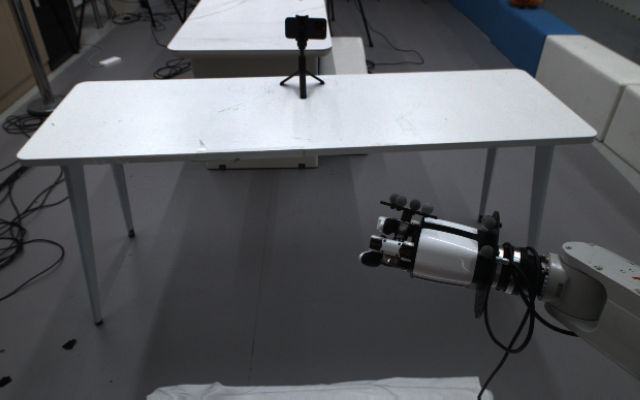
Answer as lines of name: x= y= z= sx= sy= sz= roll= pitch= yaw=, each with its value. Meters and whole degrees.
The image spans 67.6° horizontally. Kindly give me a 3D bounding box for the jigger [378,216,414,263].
jigger: x=0.121 y=0.064 z=0.735 sx=0.043 sy=0.071 sz=0.043 roll=17 pitch=2 yaw=-1
